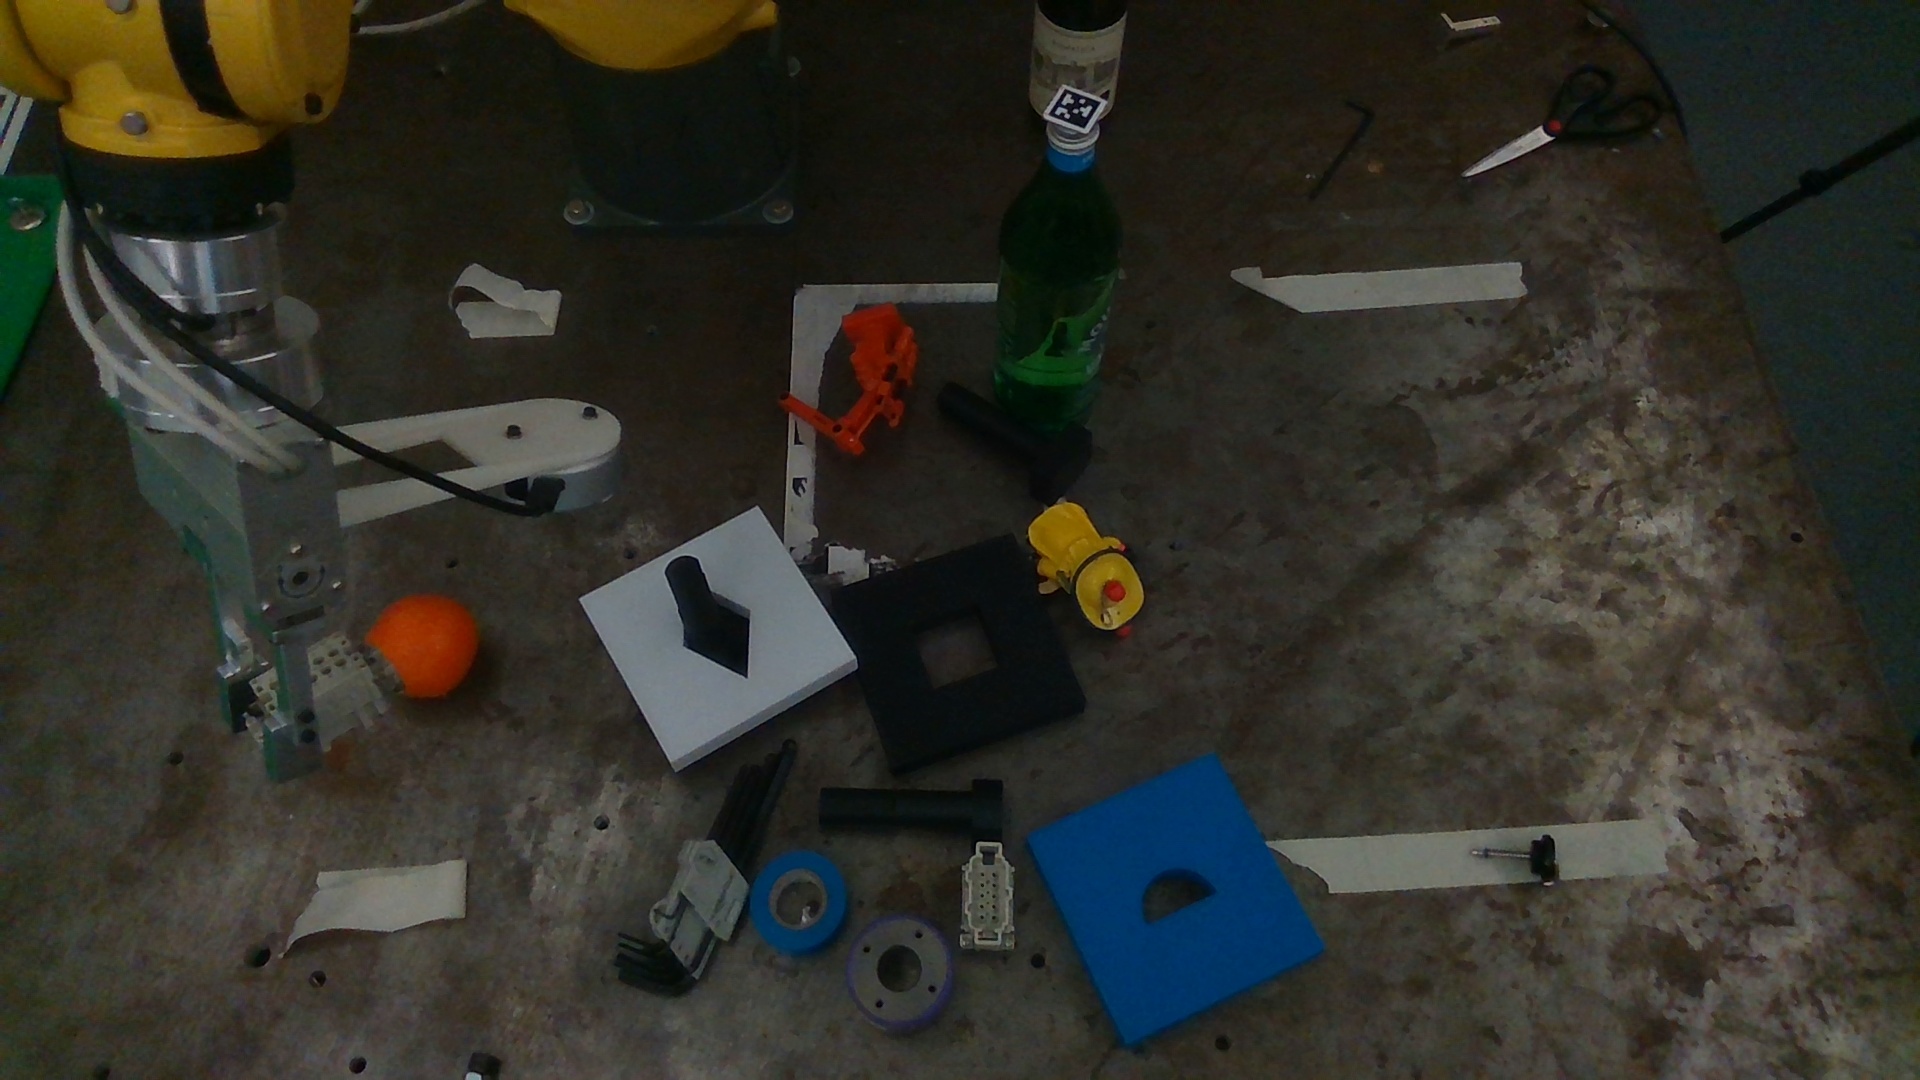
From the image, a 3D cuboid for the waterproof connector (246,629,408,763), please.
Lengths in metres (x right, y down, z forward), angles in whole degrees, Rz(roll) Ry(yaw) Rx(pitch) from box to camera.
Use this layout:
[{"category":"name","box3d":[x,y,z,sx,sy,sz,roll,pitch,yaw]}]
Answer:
[{"category":"waterproof connector","box3d":[-0.305,0.075,0.666,0.069,0.038,0.037,-36,51,-29]}]
